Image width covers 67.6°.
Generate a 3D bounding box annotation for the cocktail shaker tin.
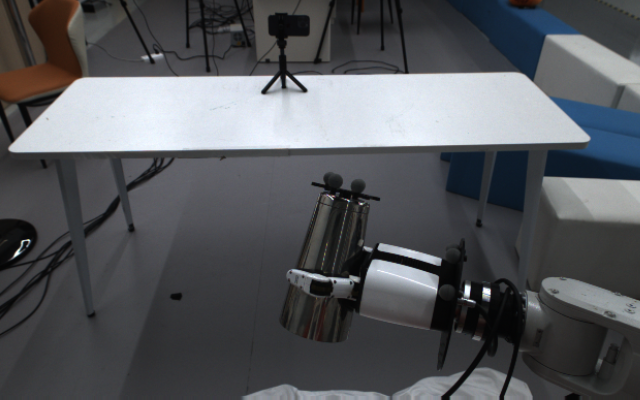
[{"bbox_3d":[0.013,0.080,0.612,0.093,0.170,0.093,13,4,-1],"label":"cocktail shaker tin"}]
